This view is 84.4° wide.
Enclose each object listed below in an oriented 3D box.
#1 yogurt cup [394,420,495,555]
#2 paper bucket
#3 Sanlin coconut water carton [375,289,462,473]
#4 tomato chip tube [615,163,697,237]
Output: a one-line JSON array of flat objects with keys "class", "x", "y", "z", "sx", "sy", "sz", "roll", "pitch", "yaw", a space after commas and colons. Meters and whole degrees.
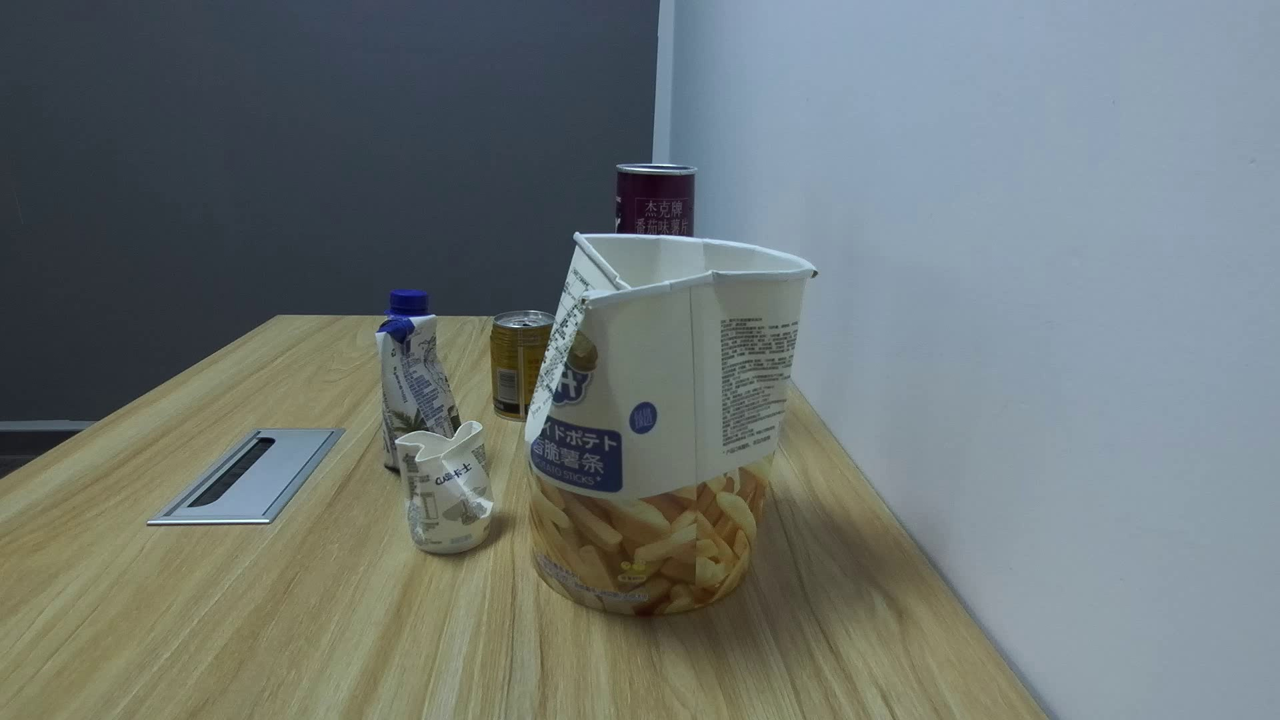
[{"class": "yogurt cup", "x": -0.130, "y": 0.084, "z": 0.474, "sx": 0.055, "sy": 0.072, "sz": 0.055, "roll": -11, "pitch": 22, "yaw": -32}, {"class": "paper bucket", "x": -0.001, "y": 0.029, "z": 0.449, "sx": 0.170, "sy": 0.202, "sz": 0.162, "roll": -8, "pitch": 20, "yaw": -33}, {"class": "Sanlin coconut water carton", "x": -0.186, "y": 0.019, "z": 0.560, "sx": 0.056, "sy": 0.145, "sz": 0.068, "roll": 4, "pitch": 24, "yaw": 31}, {"class": "tomato chip tube", "x": 0.010, "y": -0.051, "z": 0.629, "sx": 0.076, "sy": 0.234, "sz": 0.080, "roll": 12, "pitch": 21, "yaw": 23}]
